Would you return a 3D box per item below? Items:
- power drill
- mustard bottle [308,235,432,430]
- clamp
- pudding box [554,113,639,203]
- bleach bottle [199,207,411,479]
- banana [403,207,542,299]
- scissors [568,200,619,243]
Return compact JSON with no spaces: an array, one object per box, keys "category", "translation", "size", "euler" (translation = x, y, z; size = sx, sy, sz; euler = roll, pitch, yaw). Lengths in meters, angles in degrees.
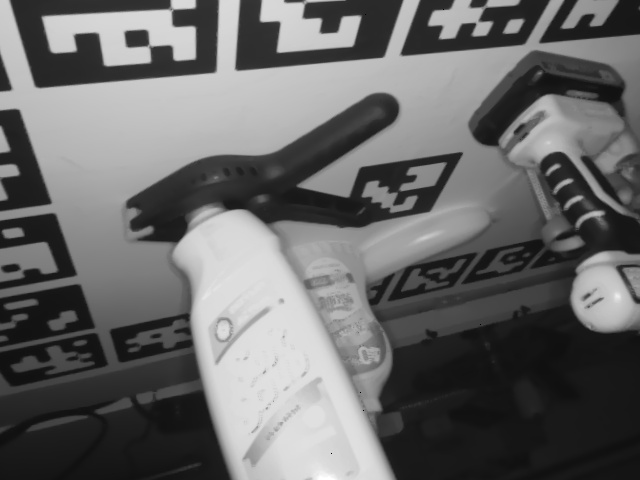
[{"category":"power drill","translation":[0.247,-0.047,0.497],"size":[0.187,0.187,0.056],"euler":[-7,154,-24]},{"category":"mustard bottle","translation":[0.053,0.086,0.659],"size":[0.097,0.192,0.057],"euler":[-3,146,-22]},{"category":"clamp","translation":[-0.027,-0.030,0.545],"size":[0.204,0.037,0.164],"euler":[-15,147,-5]},{"category":"pudding box","translation":[0.279,-0.076,0.619],"size":[0.115,0.090,0.038],"euler":[-9,154,-15]},{"category":"bleach bottle","translation":[-0.033,0.071,0.496],"size":[0.103,0.251,0.068],"euler":[-28,152,1]},{"category":"banana","translation":[0.139,0.018,0.727],"size":[0.195,0.039,0.075],"euler":[-34,163,22]},{"category":"scissors","translation":[0.305,-0.022,0.594],"size":[0.205,0.016,0.086],"euler":[7,136,-29]}]
